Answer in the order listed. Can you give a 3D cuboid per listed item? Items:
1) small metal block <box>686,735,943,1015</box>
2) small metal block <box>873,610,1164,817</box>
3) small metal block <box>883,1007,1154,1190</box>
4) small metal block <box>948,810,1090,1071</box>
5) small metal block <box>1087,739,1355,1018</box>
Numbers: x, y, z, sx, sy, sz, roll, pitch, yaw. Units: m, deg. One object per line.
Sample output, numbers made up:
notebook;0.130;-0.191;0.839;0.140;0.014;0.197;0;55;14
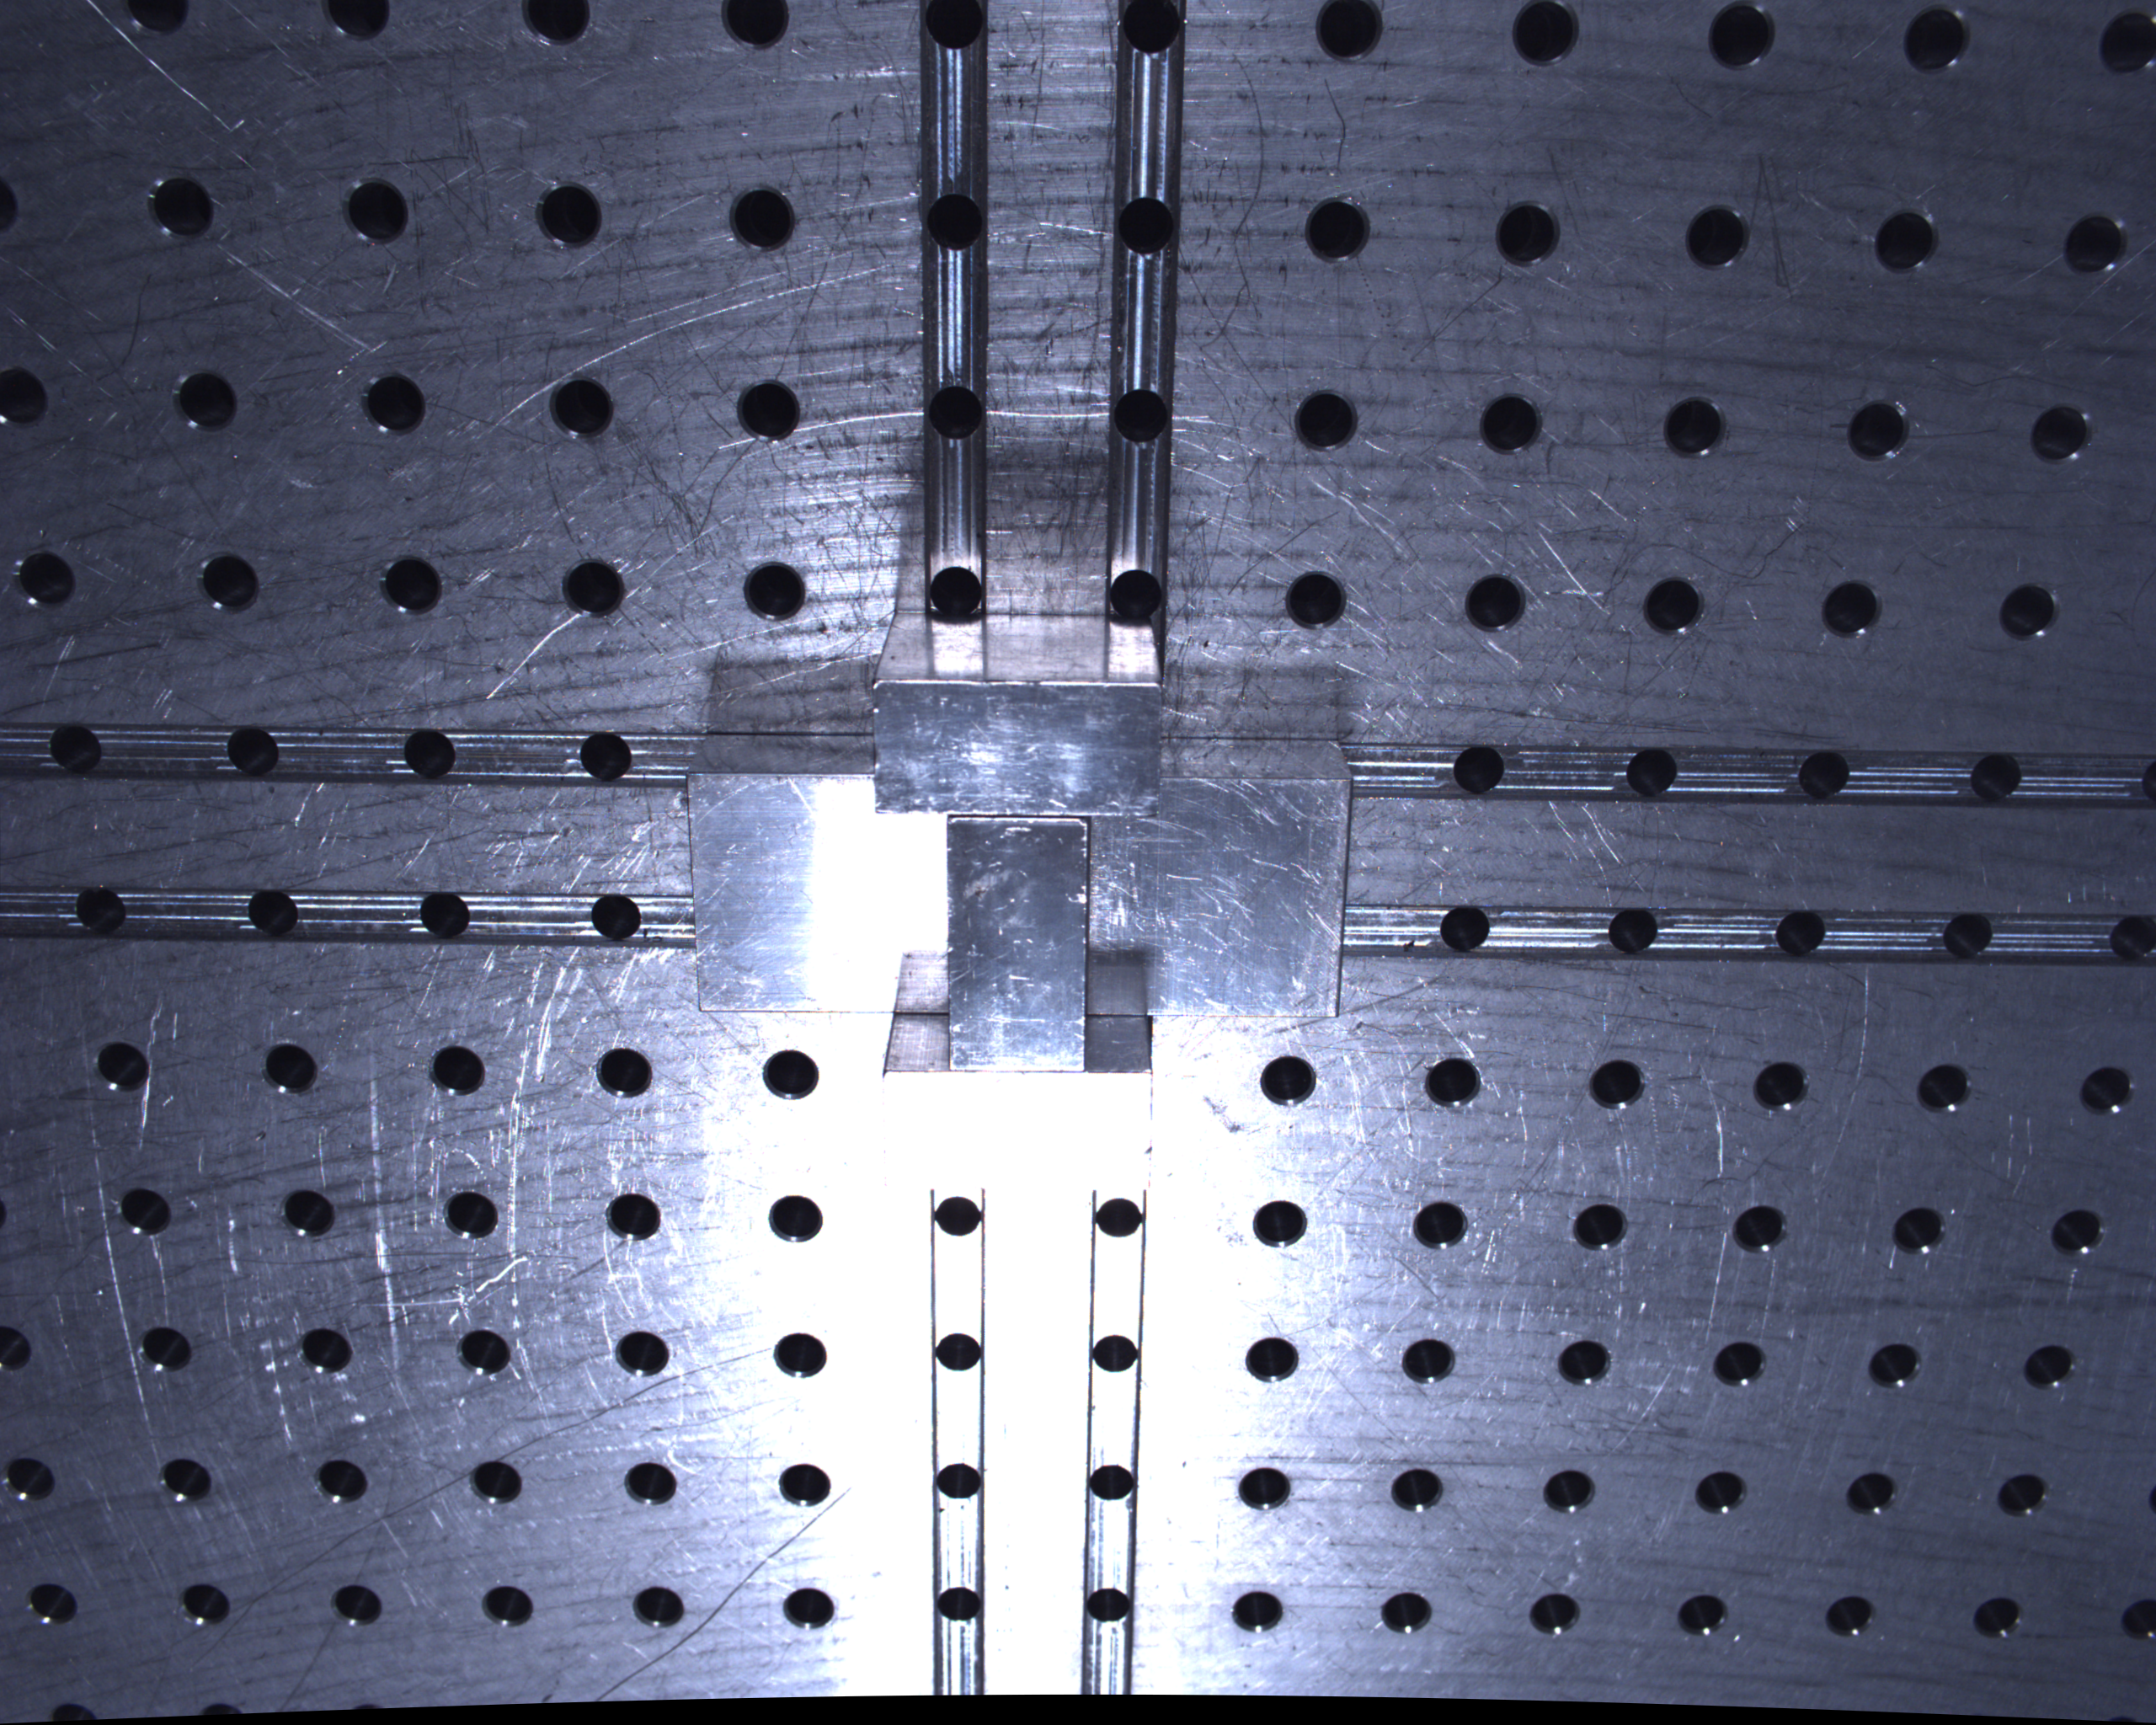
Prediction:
small metal block;-0.049;0.002;0.413;0.050;0.025;0.050;0;110;-1
small metal block;-0.011;-0.029;0.389;0.050;0.050;0.025;1;110;-1
small metal block;-0.011;0.042;0.415;0.050;0.050;0.025;1;110;-1
small metal block;-0.011;0.007;0.402;0.025;0.050;0.050;1;110;-1
small metal block;0.027;0.003;0.414;0.050;0.025;0.050;1;110;-1
